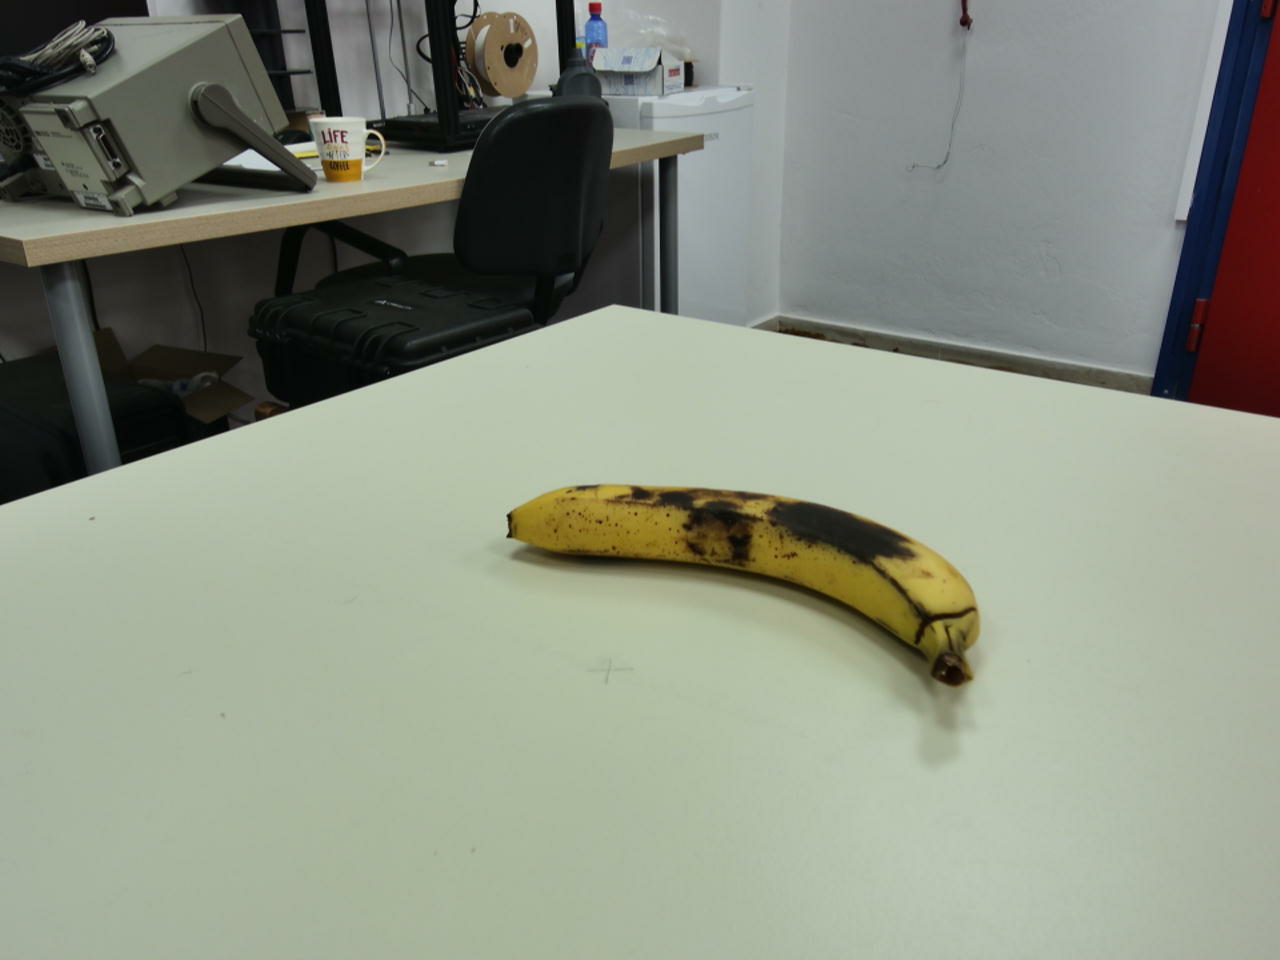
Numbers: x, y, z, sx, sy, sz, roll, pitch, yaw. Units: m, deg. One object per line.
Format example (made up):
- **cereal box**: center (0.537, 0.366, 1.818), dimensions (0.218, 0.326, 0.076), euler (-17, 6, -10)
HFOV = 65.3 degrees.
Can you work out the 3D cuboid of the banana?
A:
- **banana**: center (0.047, 0.031, 0.430), dimensions (0.222, 0.037, 0.084), euler (17, 28, 36)
